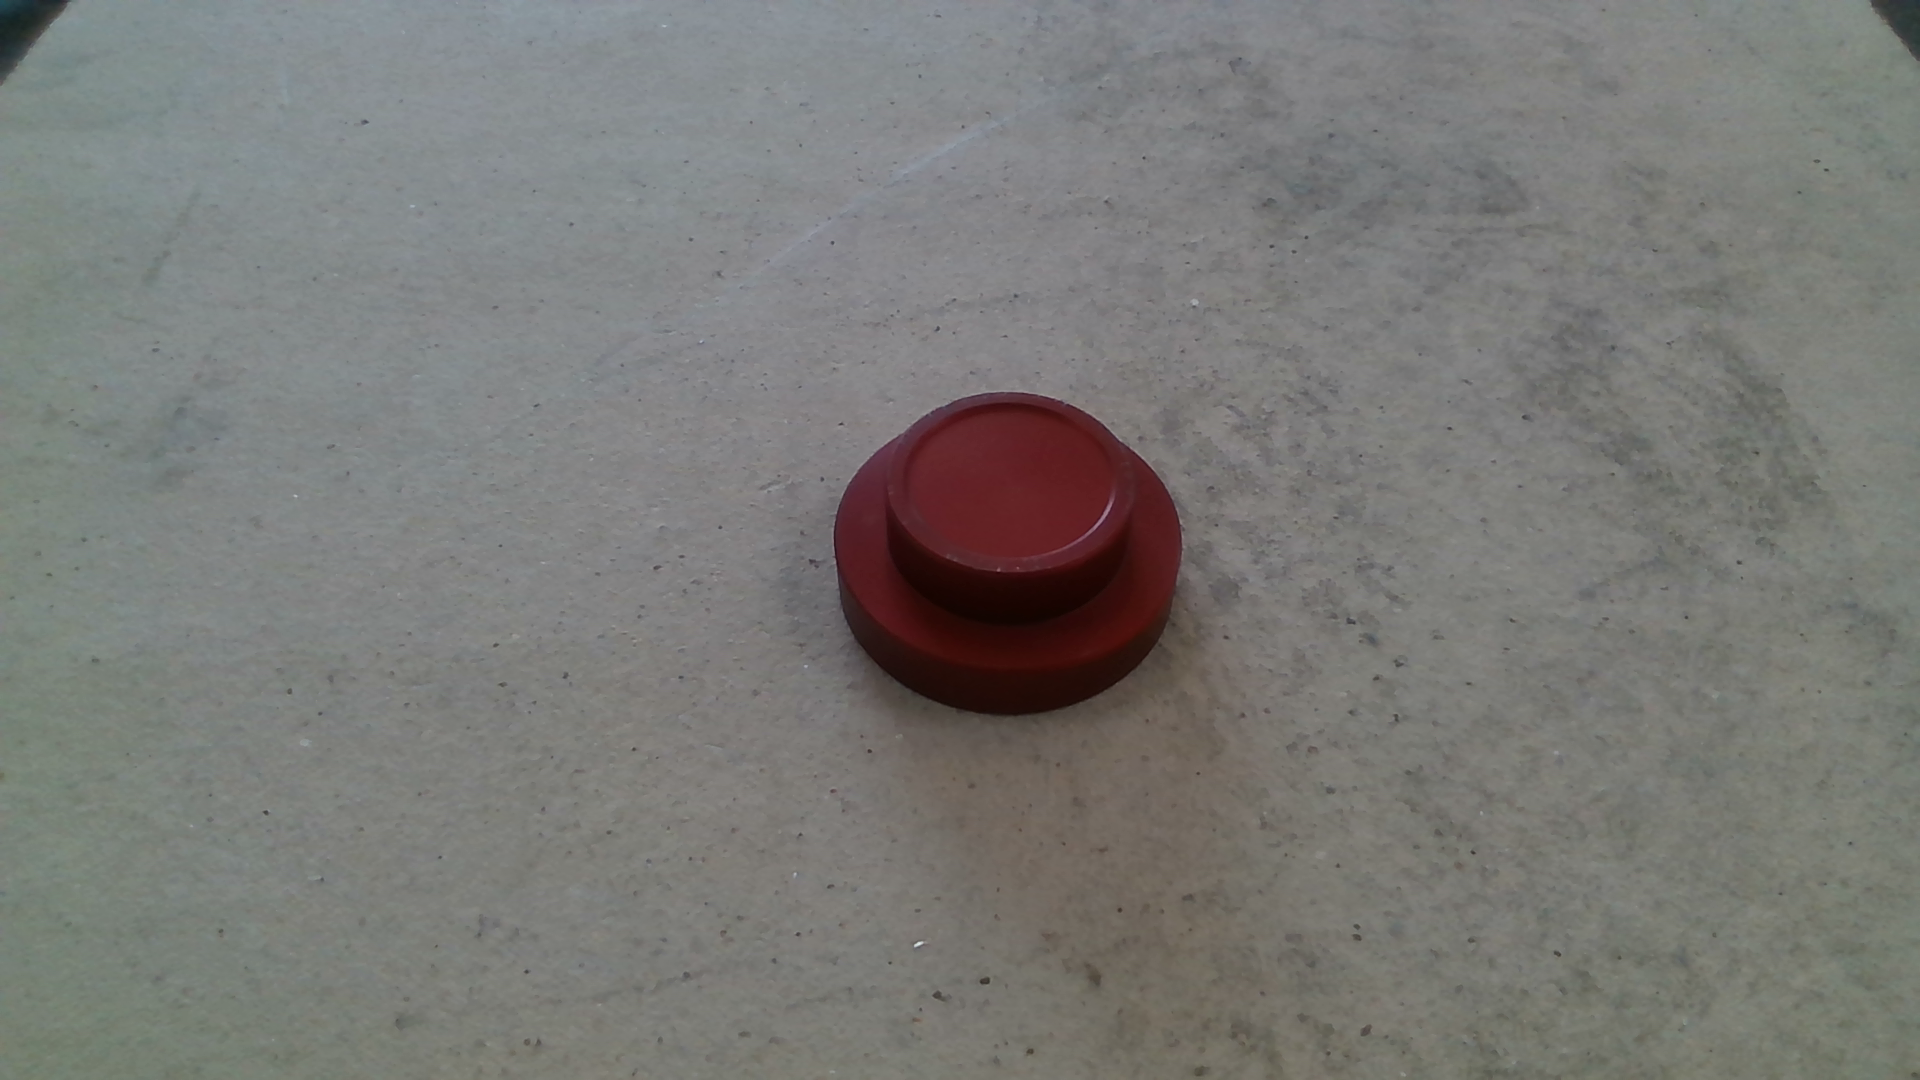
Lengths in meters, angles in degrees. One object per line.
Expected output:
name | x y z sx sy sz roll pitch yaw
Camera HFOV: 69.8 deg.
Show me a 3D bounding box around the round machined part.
round machined part | 0.013 -0.003 0.386 0.098 0.042 0.098 0 50 0
